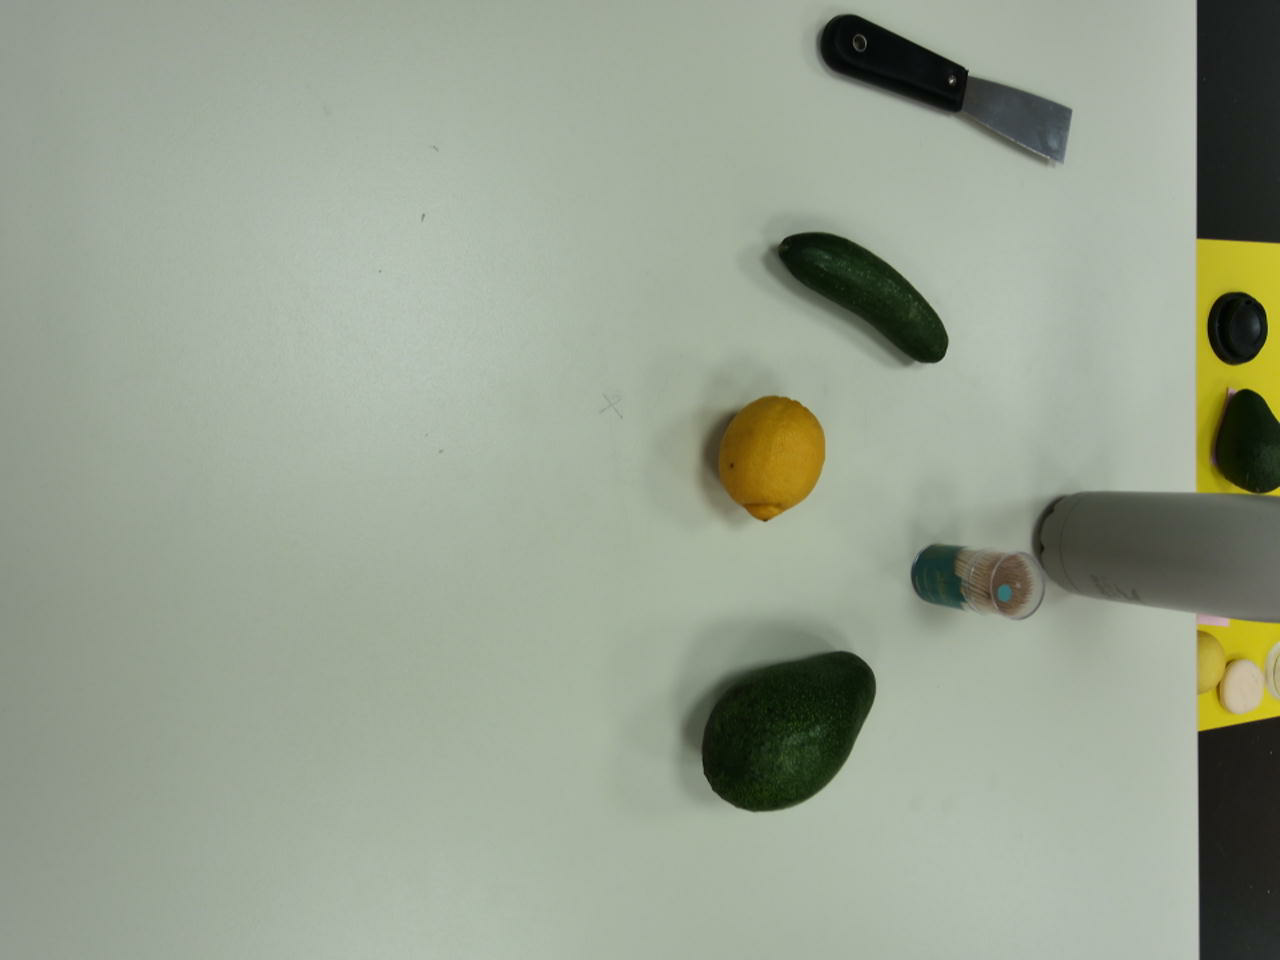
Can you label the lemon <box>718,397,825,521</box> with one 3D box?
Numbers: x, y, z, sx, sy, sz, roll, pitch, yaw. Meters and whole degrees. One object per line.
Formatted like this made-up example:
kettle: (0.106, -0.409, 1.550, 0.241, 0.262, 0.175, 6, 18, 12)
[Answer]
lemon: (0.075, -0.014, 0.575, 0.061, 0.059, 0.067, 43, 75, -16)
